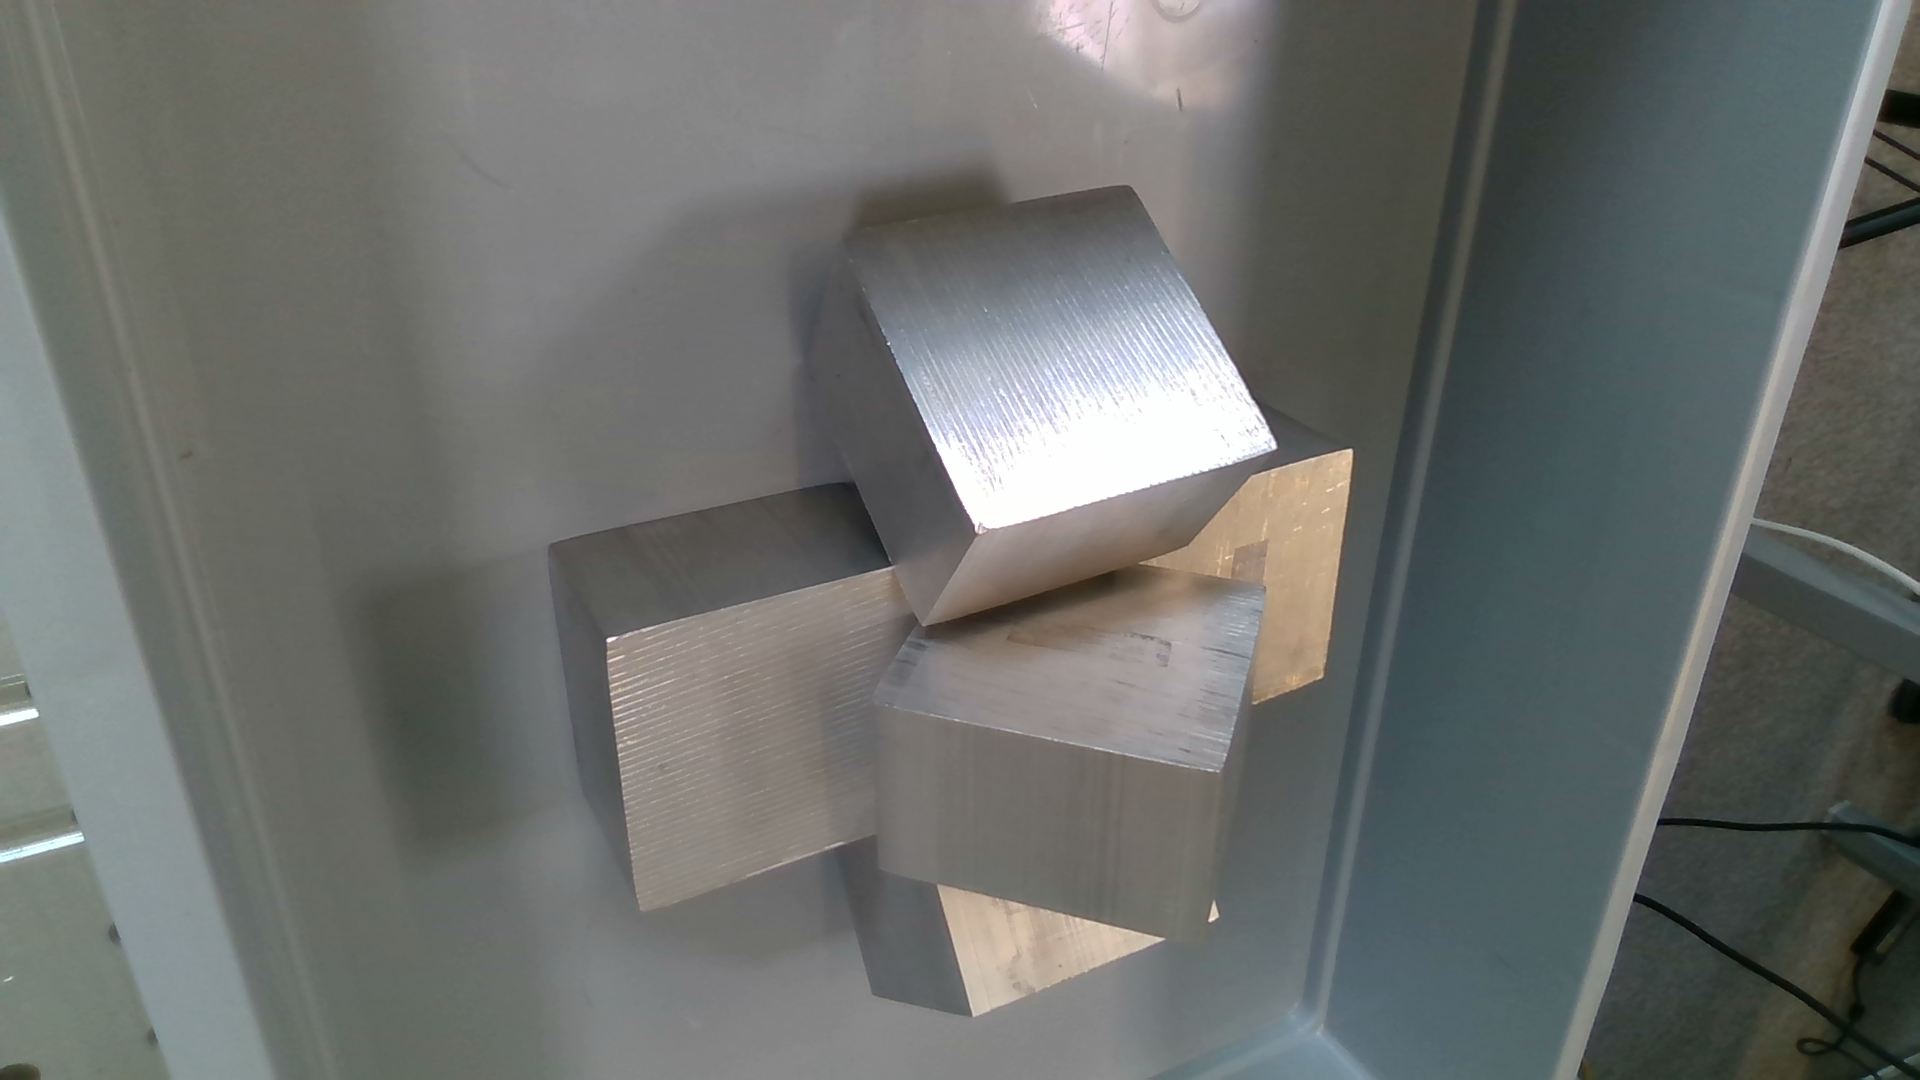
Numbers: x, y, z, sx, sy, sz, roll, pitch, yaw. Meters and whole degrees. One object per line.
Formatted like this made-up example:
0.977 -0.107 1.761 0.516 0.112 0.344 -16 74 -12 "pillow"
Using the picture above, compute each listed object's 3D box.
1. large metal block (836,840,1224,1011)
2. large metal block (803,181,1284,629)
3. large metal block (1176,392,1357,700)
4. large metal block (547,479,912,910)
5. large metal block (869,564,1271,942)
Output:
0.016 0.097 0.407 0.080 0.080 0.050 -13 82 -25 "large metal block"
0.017 -0.034 0.335 0.080 0.080 0.050 -15 158 -24 "large metal block"
0.067 0.007 0.414 0.080 0.050 0.080 -16 122 -24 "large metal block"
-0.056 0.038 0.359 0.080 0.050 0.080 -14 121 -25 "large metal block"
0.030 0.045 0.345 0.080 0.080 0.050 -57 152 -56 "large metal block"
